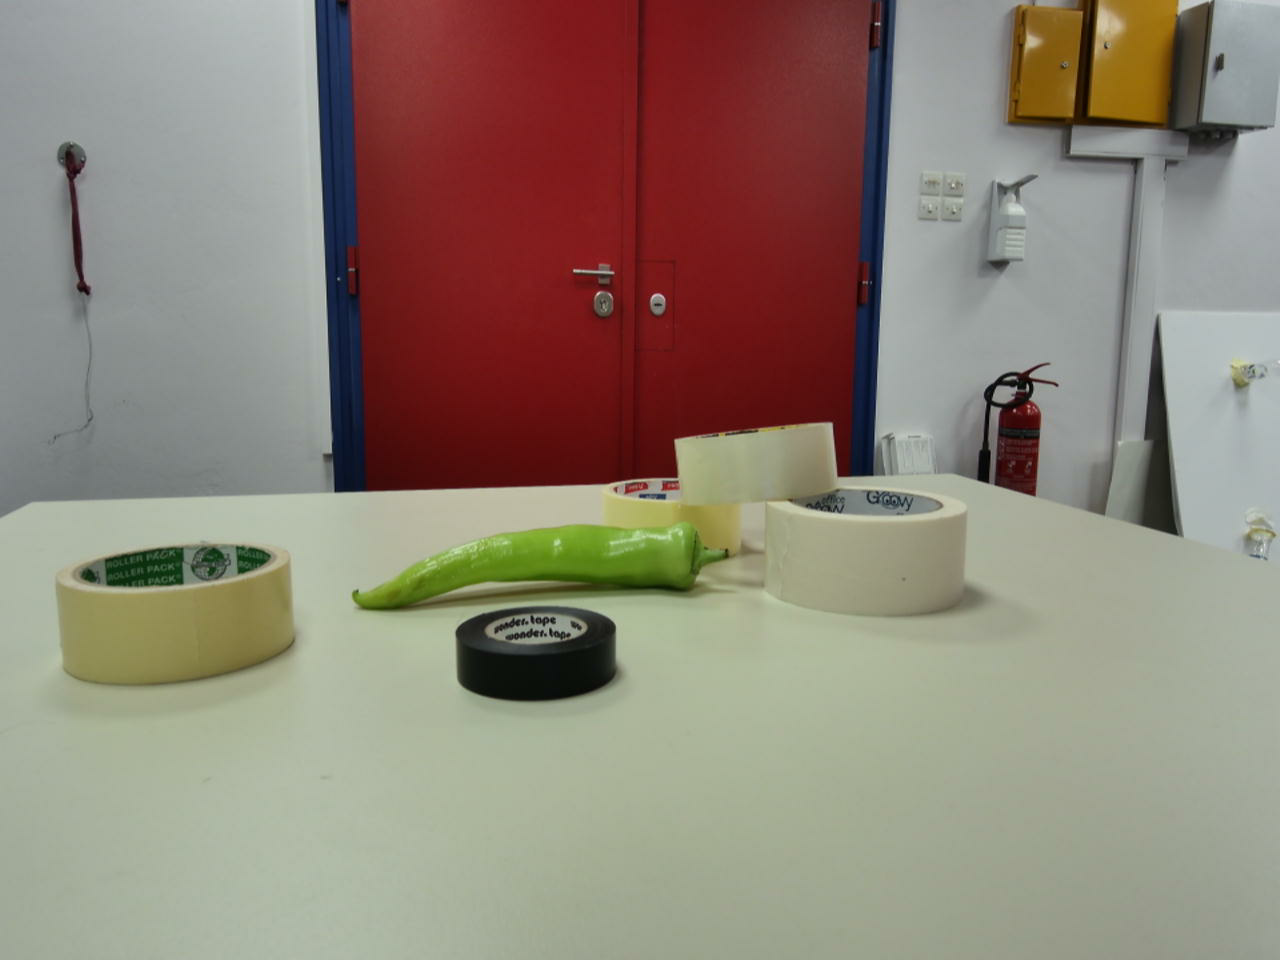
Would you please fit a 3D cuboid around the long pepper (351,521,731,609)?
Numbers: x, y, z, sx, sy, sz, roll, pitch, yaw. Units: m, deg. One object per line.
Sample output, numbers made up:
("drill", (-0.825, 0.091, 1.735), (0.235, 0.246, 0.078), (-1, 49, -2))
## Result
("long pepper", (-0.051, 0.043, 0.532), (0.197, 0.038, 0.047), (-1, 7, -11))
